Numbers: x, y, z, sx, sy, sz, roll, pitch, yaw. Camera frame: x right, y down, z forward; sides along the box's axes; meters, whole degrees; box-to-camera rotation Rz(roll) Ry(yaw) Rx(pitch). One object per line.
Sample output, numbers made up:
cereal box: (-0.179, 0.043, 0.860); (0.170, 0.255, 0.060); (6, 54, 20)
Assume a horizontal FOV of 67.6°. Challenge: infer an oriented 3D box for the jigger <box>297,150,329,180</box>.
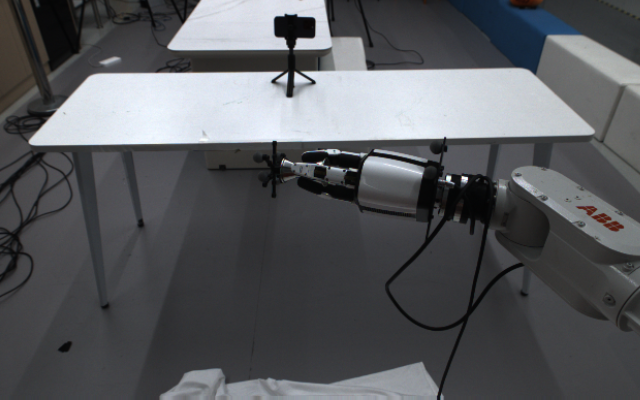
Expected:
jigger: (-0.015, -0.049, 0.738); (0.071, 0.043, 0.043); (3, 34, 17)
